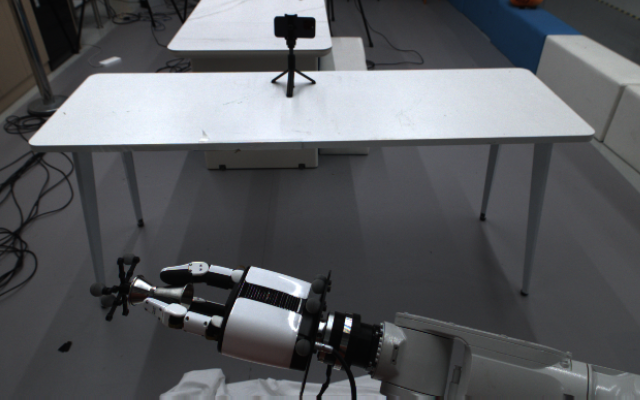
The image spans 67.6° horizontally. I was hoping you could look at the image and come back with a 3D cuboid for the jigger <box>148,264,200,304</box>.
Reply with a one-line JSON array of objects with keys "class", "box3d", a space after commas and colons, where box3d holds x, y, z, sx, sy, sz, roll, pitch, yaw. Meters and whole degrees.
[{"class": "jigger", "box3d": [-0.191, 0.115, 0.613, 0.071, 0.043, 0.043, 8, 35, 6]}]
